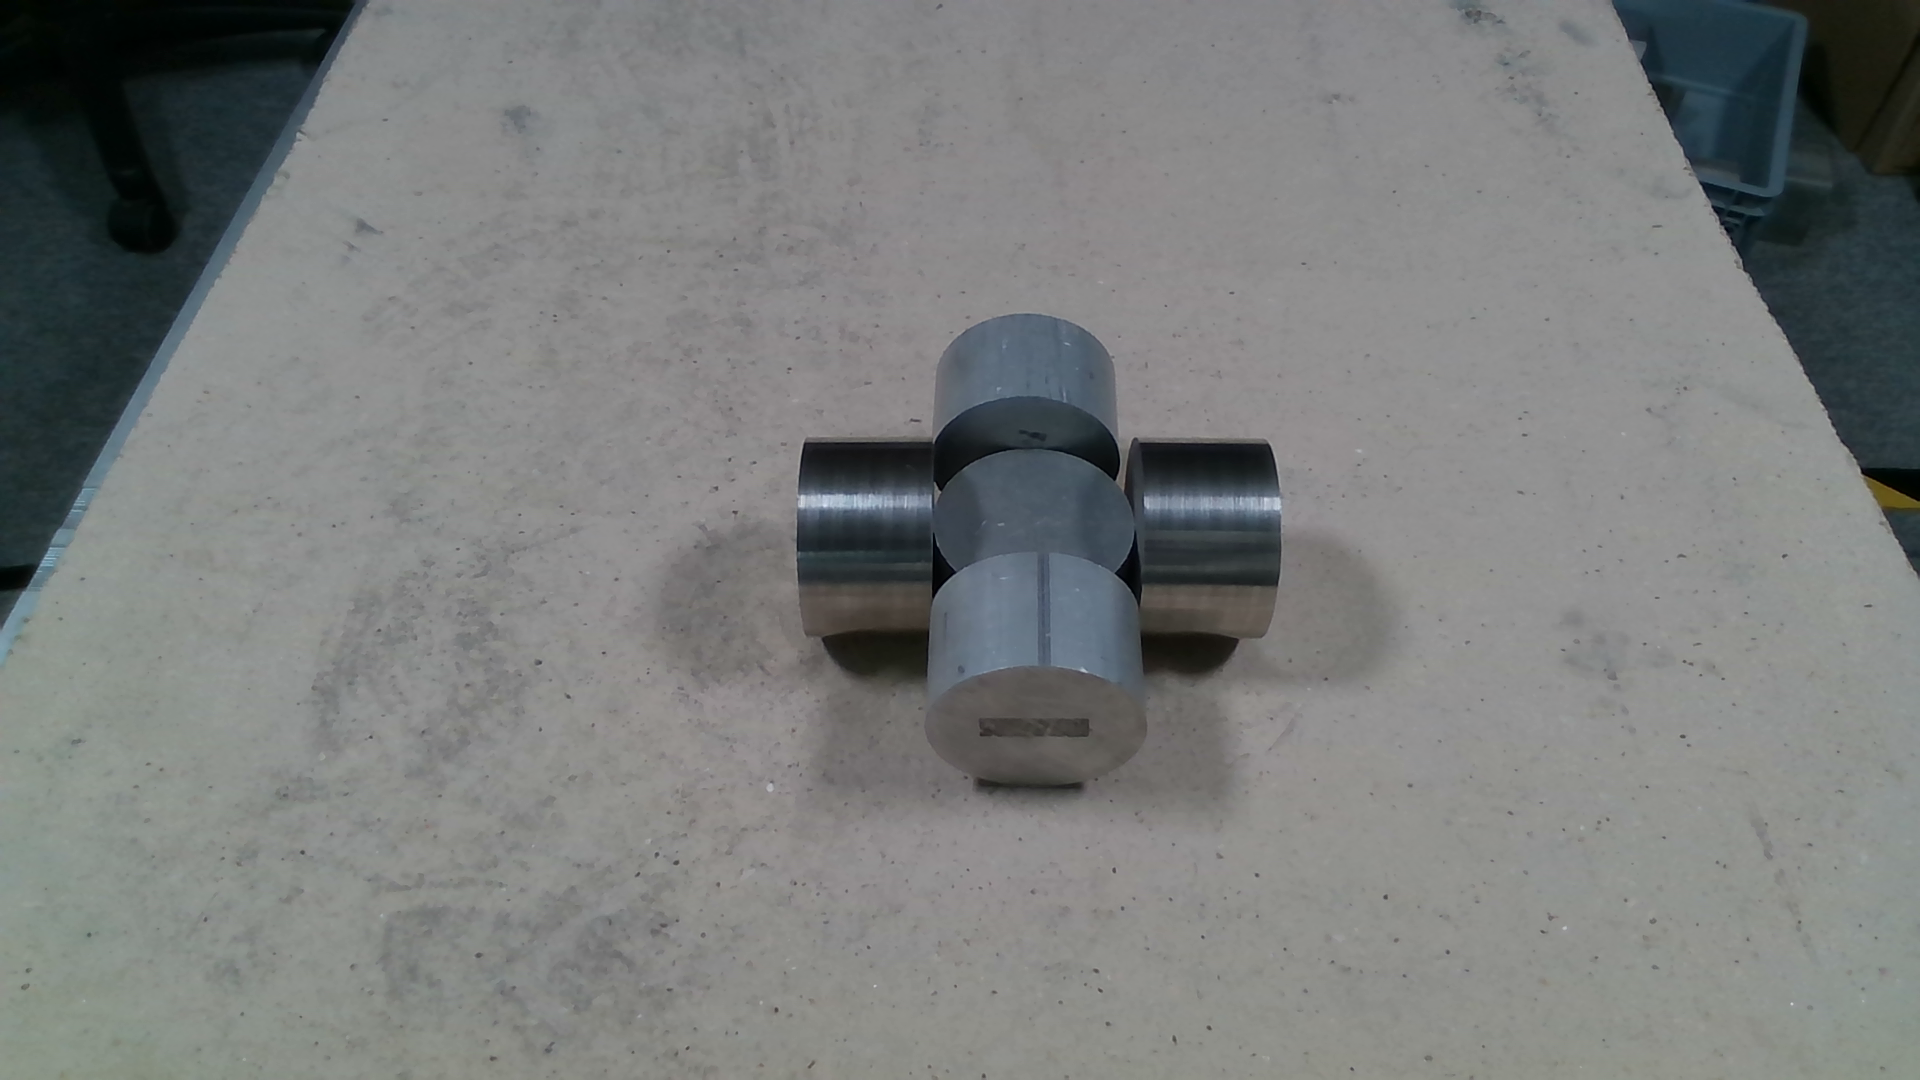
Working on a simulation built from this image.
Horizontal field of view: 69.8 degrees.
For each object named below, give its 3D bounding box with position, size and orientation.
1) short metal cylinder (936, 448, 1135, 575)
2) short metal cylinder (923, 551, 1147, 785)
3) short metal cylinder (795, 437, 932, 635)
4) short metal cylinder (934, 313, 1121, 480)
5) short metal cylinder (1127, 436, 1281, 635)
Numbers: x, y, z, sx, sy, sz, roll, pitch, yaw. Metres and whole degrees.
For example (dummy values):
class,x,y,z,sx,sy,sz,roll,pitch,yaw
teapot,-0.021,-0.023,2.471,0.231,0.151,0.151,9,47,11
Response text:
class,x,y,z,sx,sy,sz,roll,pitch,yaw
short metal cylinder,0.029,0.009,0.564,0.080,0.050,0.080,0,50,0
short metal cylinder,0.028,0.049,0.511,0.080,0.080,0.050,1,50,1
short metal cylinder,-0.036,-0.002,0.552,0.050,0.080,0.080,1,50,0
short metal cylinder,0.028,-0.051,0.594,0.080,0.080,0.050,1,50,1
short metal cylinder,0.095,-0.002,0.552,0.050,0.080,0.080,1,50,1
